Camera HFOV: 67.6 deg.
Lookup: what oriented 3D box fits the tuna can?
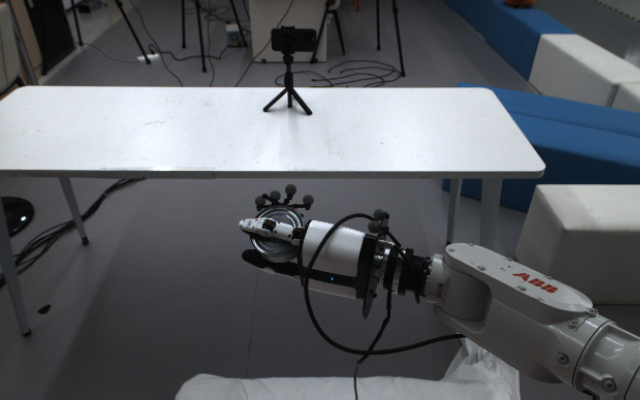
[{"bbox_3d":[-0.062,0.053,0.743,0.085,0.034,0.085,-6,60,10],"label":"tuna can"}]
